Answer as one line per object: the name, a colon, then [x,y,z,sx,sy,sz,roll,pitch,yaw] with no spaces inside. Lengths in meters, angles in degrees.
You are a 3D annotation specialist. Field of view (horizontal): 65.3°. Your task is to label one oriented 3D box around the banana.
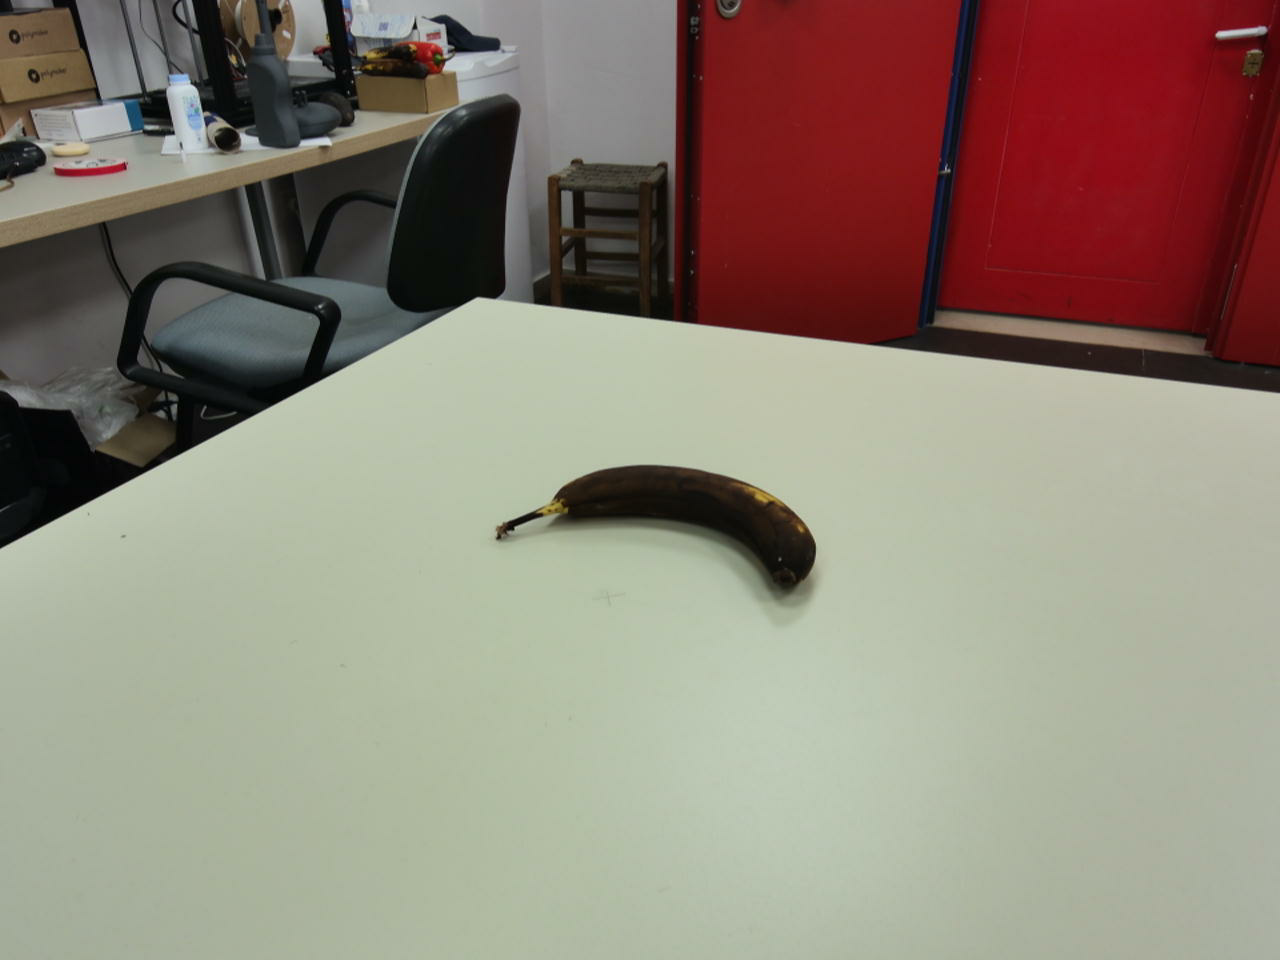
banana: [0.017,0.019,0.588,0.188,0.034,0.091,11,28,23]
